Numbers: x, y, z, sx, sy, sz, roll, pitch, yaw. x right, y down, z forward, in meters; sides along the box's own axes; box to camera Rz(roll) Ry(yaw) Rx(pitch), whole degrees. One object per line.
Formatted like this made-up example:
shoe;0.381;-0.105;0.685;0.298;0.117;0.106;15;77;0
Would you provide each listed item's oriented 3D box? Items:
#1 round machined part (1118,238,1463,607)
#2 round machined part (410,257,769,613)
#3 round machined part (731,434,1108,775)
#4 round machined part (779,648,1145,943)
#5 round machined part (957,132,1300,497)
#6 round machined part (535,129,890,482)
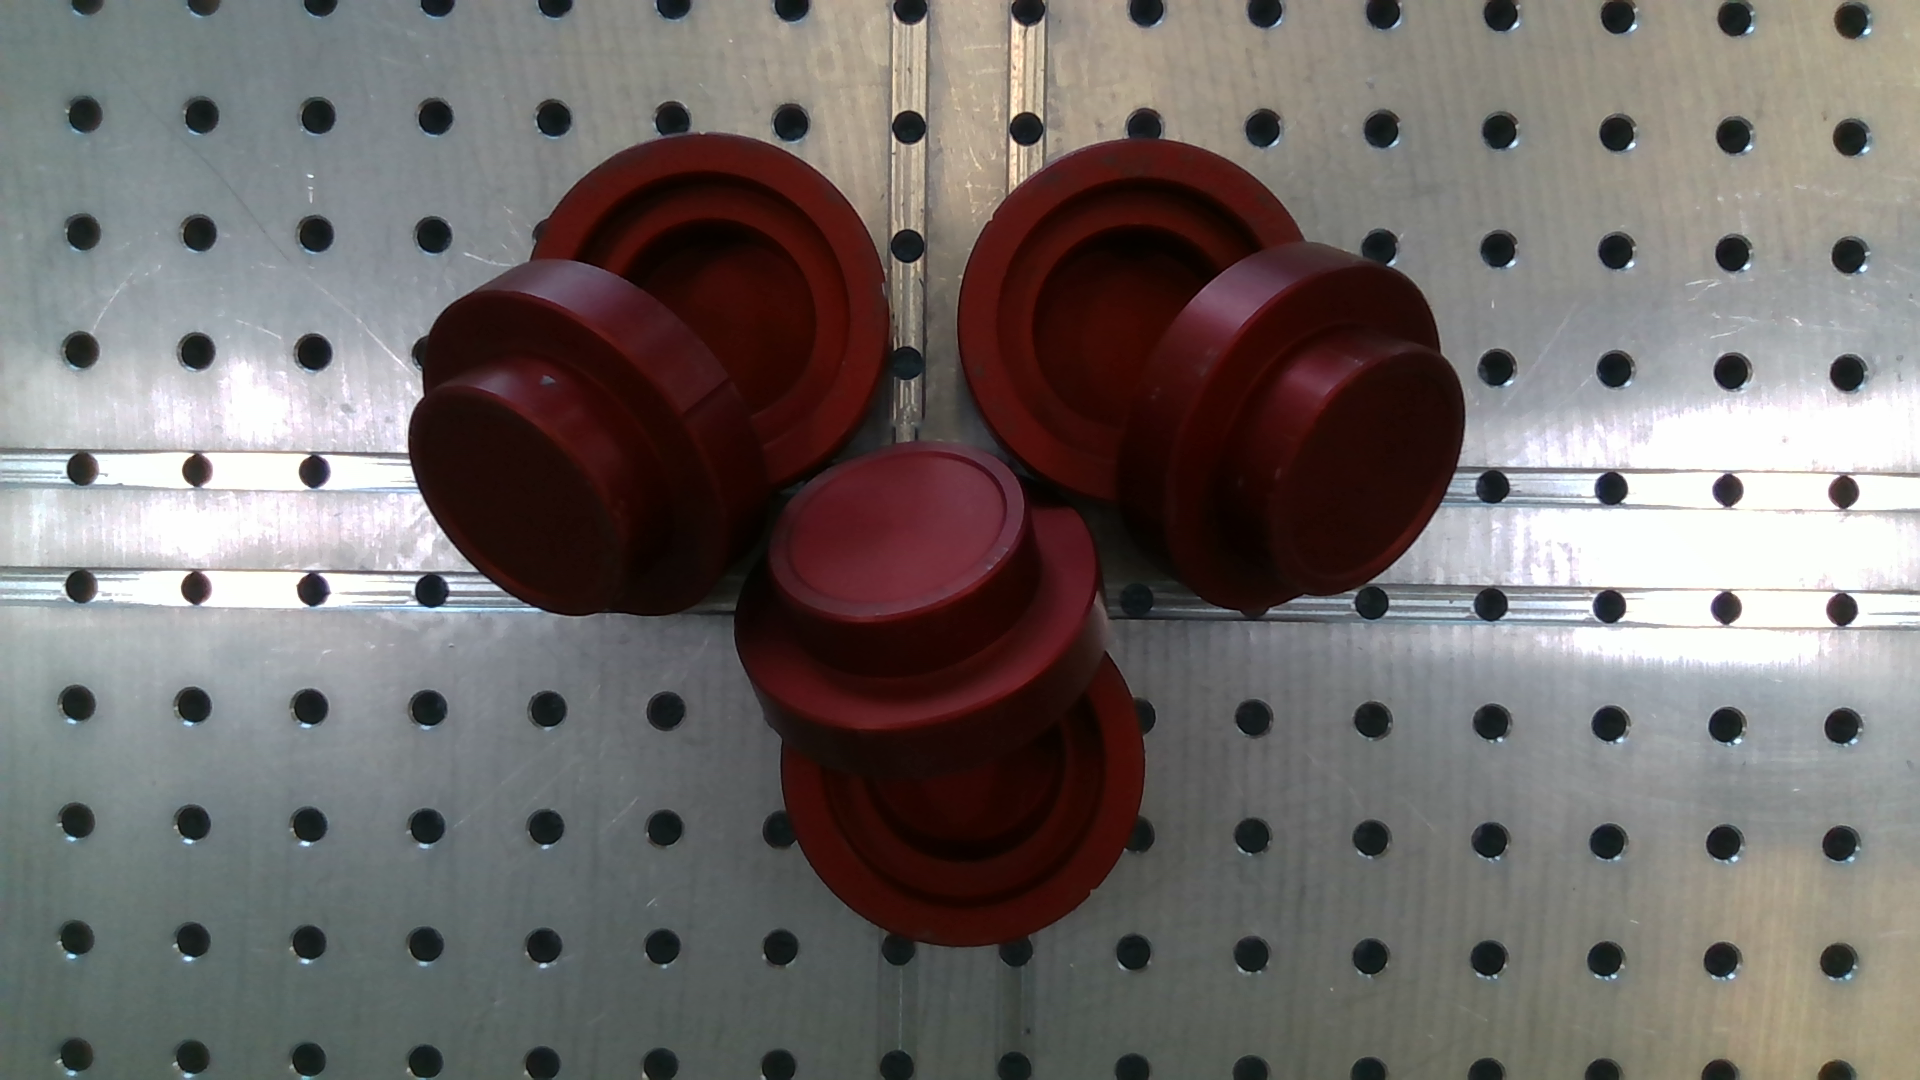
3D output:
round machined part;0.092;-0.025;0.361;0.098;0.042;0.098;-19;126;-28
round machined part;-0.103;-0.020;0.360;0.098;0.042;0.098;17;131;21
round machined part;-0.012;0.009;0.359;0.098;0.098;0.042;-14;132;0
round machined part;0.001;0.059;0.389;0.098;0.042;0.098;0;90;0
round machined part;0.048;-0.060;0.388;0.098;0.042;0.098;0;90;0
round machined part;-0.068;-0.061;0.388;0.098;0.042;0.098;0;90;0
